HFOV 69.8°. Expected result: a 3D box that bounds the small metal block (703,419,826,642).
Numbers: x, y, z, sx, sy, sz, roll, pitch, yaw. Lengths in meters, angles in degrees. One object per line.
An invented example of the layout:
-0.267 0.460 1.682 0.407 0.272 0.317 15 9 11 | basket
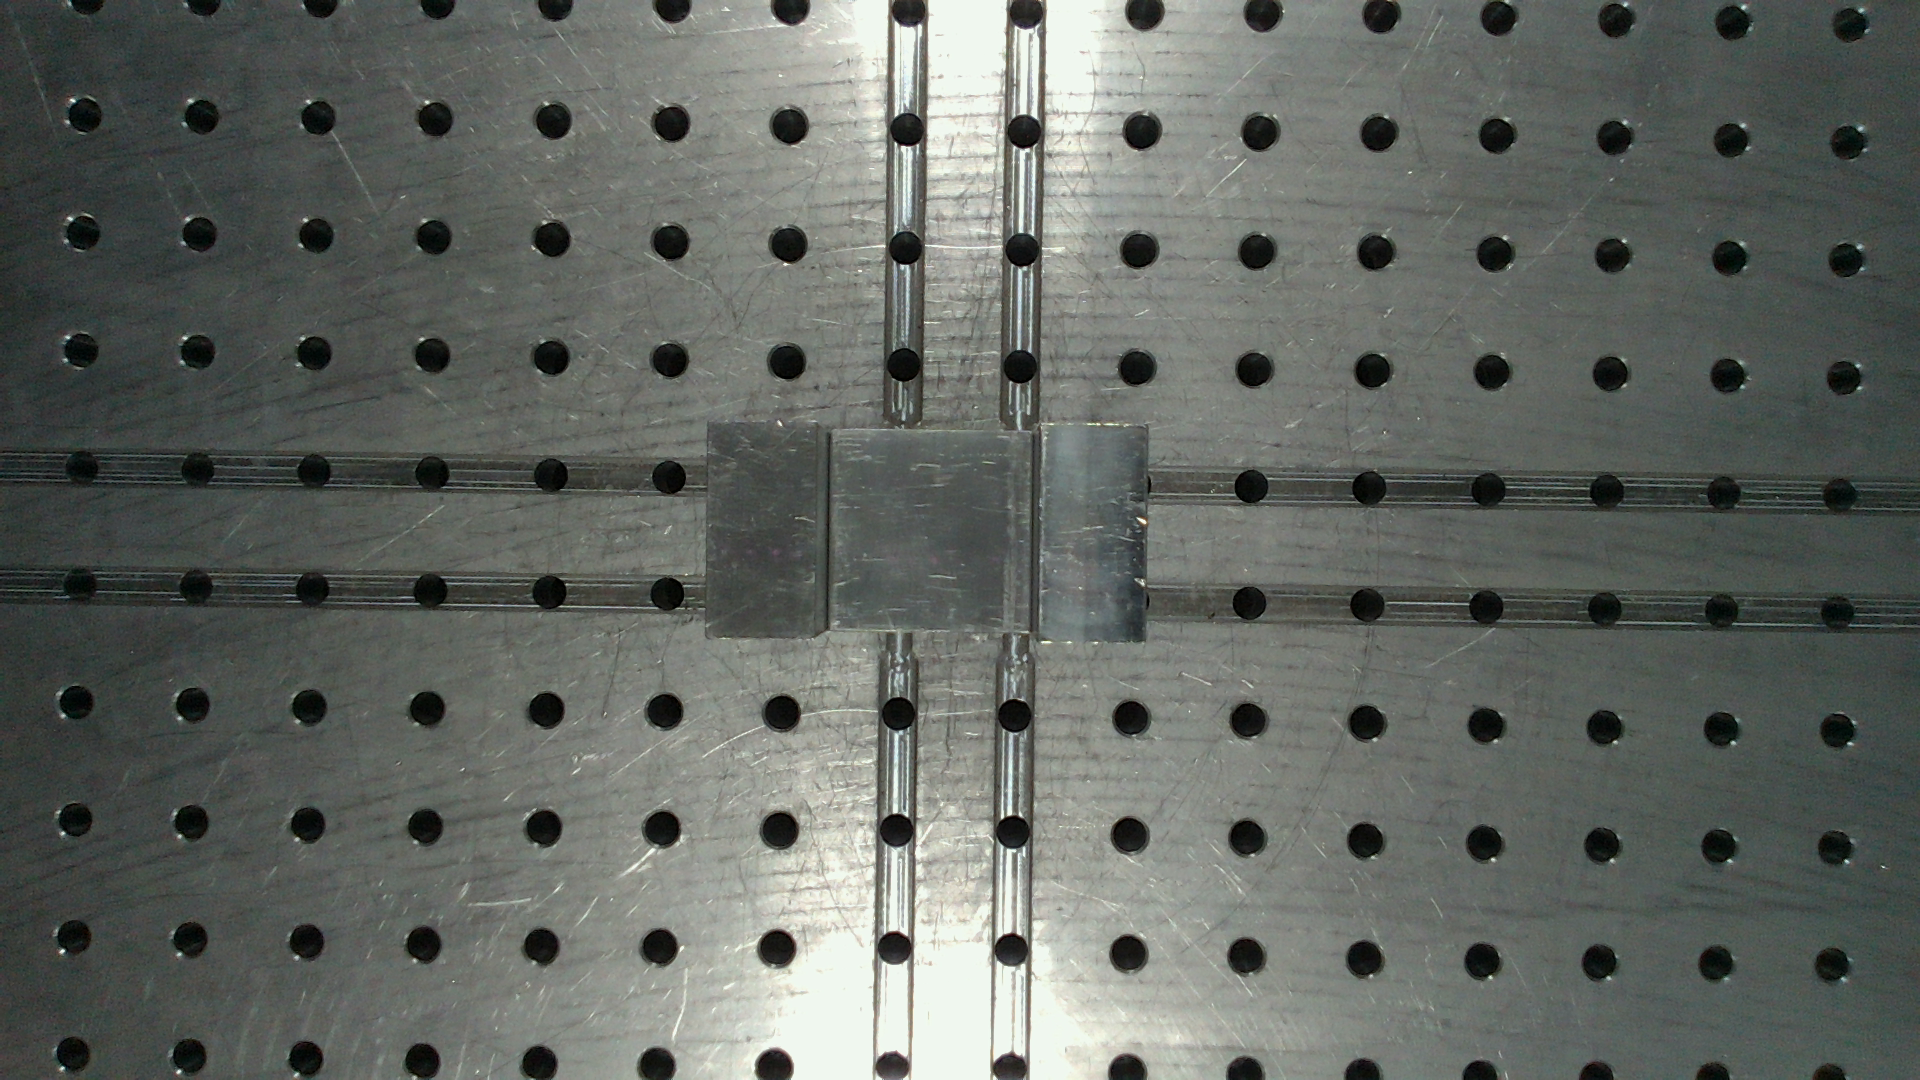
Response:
-0.045 -0.002 0.334 0.025 0.050 0.050 1 90 1 | small metal block

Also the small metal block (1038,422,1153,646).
0.031 -0.001 0.334 0.025 0.050 0.050 1 90 1 | small metal block

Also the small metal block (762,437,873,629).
-0.039 -0.002 0.384 0.025 0.050 0.050 1 90 0 | small metal block

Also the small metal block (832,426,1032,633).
-0.007 -0.003 0.348 0.050 0.025 0.050 1 90 0 | small metal block

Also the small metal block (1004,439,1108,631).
0.026 -0.001 0.385 0.025 0.050 0.050 -1 90 0 | small metal block
